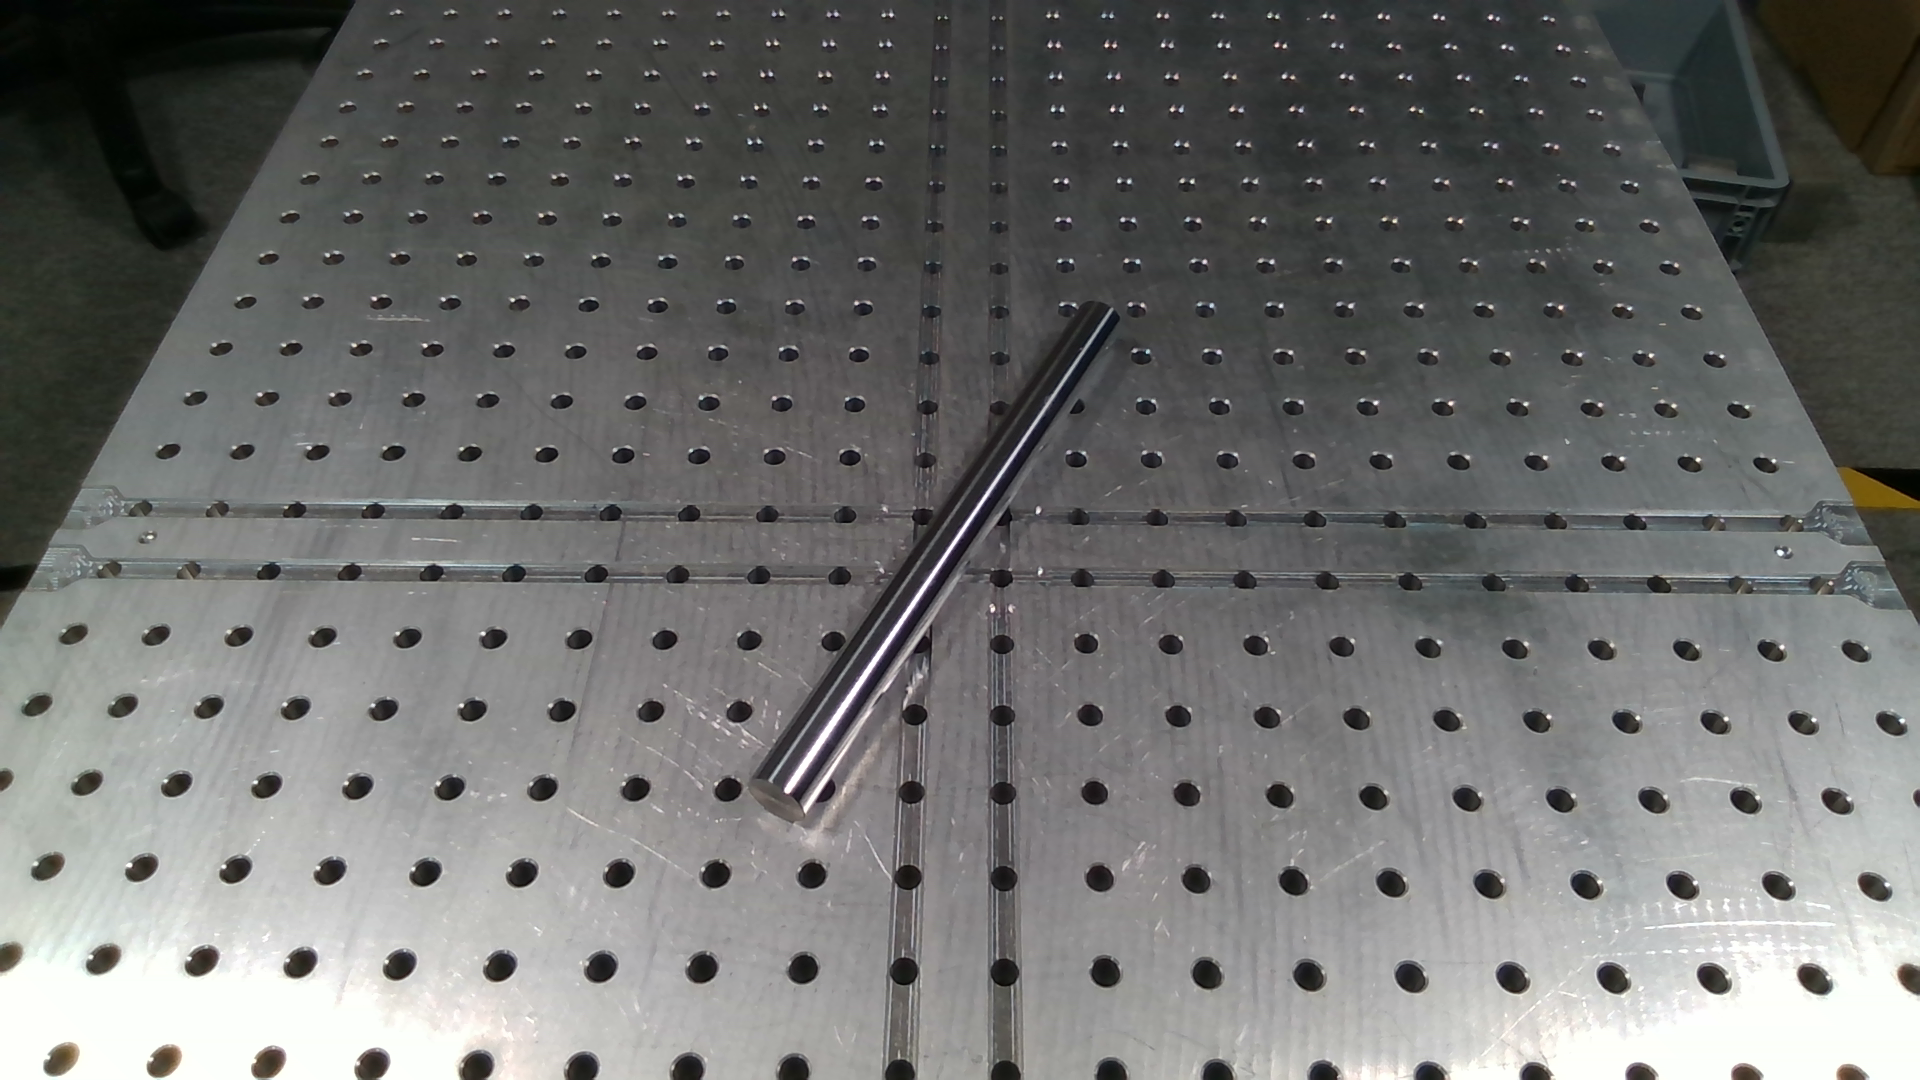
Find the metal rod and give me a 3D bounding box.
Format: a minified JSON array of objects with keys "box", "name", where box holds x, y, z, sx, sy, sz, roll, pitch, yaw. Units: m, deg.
[{"box":[0.000,-0.006,0.595,0.025,0.025,0.299,22,53,17],"name":"metal rod"}]
